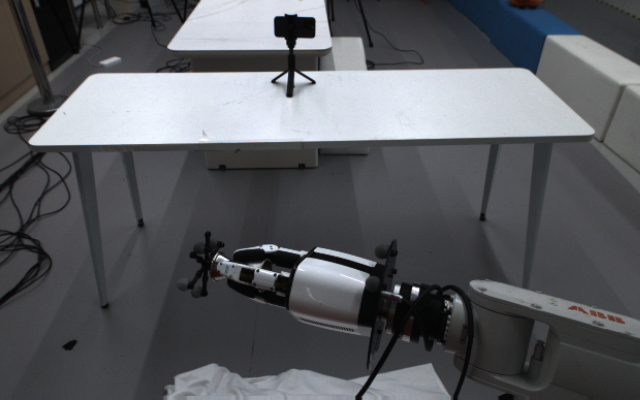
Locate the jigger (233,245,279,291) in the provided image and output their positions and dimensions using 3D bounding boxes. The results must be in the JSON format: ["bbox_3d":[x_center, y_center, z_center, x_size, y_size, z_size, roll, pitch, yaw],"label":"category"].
[{"bbox_3d":[-0.095,0.087,0.623,0.071,0.043,0.043,8,35,15],"label":"jigger"}]
